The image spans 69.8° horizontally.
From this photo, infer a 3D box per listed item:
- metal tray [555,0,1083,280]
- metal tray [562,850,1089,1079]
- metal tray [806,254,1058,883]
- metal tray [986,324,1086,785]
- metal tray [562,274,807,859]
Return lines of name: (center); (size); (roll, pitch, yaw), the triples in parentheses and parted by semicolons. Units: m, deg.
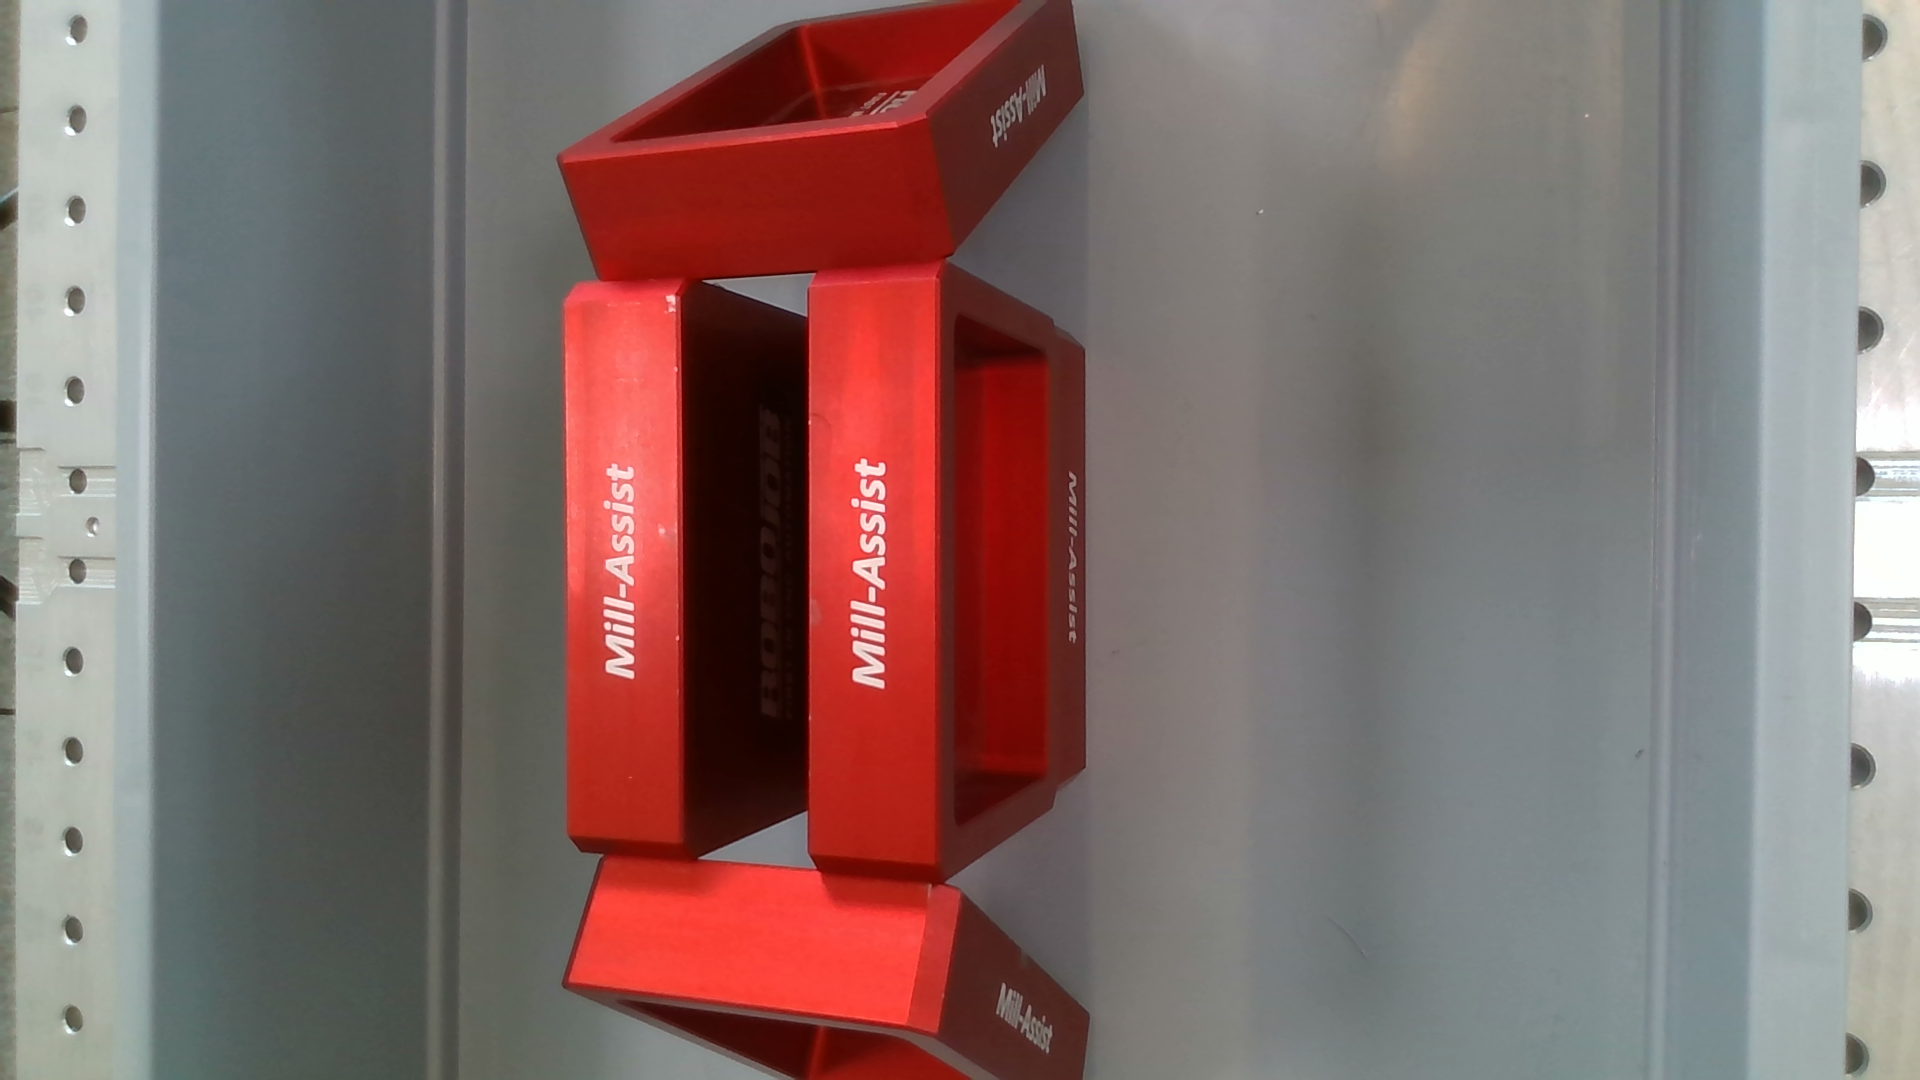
metal tray: (-0.028, -0.106, 0.348); (0.090, 0.130, 0.030); (0, 122, 21)
metal tray: (-0.026, 0.116, 0.349); (0.090, 0.130, 0.030); (0, 61, 20)
metal tray: (-0.003, 0.006, 0.327); (0.030, 0.090, 0.130); (0, 90, 20)
metal tray: (-0.011, 0.005, 0.395); (0.090, 0.030, 0.130); (0, 91, 20)
metal tray: (-0.061, 0.006, 0.348); (0.030, 0.090, 0.130); (0, 91, 20)
